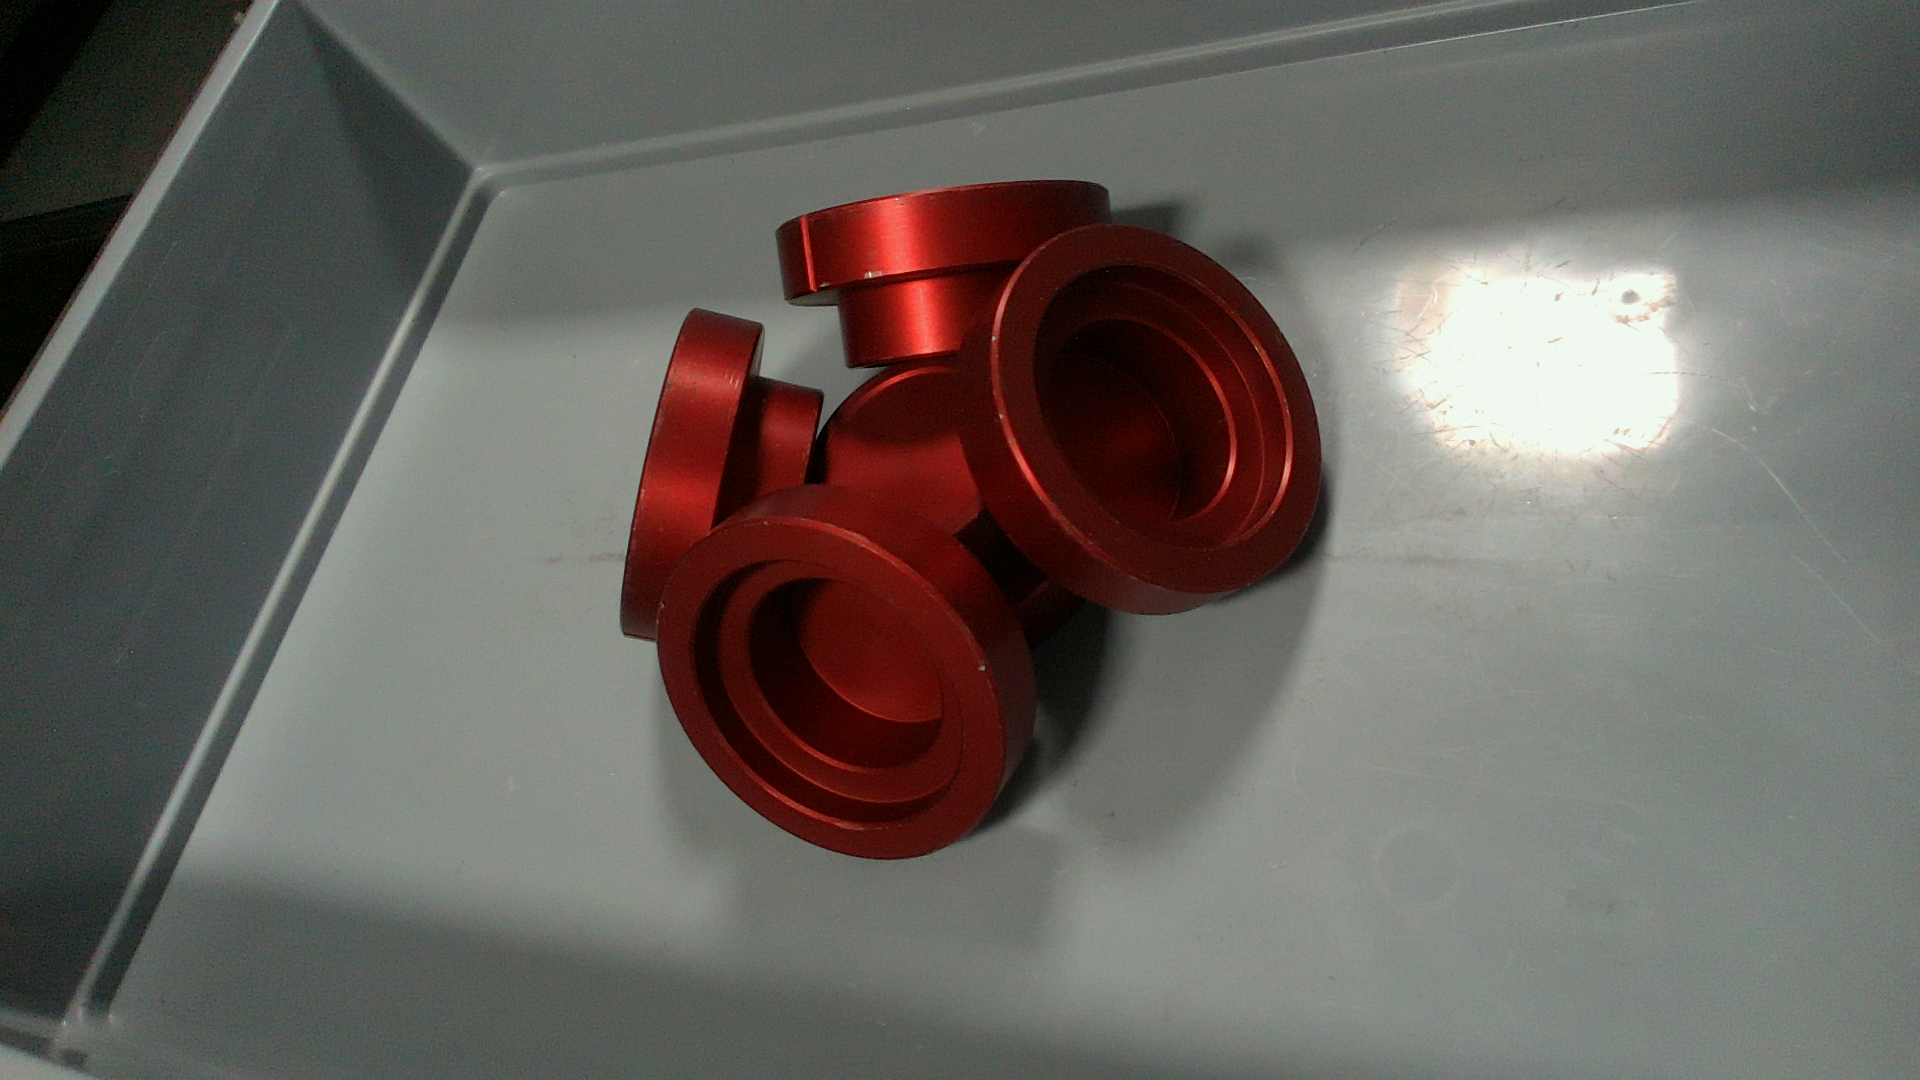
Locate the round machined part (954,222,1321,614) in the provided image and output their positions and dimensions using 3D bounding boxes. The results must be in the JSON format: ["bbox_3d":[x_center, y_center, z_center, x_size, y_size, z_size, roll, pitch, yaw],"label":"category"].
[{"bbox_3d":[0.041,-0.028,0.353,0.042,0.098,0.098,-34,39,55],"label":"round machined part"}]

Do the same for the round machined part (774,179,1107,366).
[{"bbox_3d":[-0.003,-0.076,0.406,0.098,0.098,0.042,-4,98,27],"label":"round machined part"}]

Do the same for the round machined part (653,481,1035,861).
[{"bbox_3d":[-0.026,0.030,0.352,0.098,0.098,0.042,-2,25,28],"label":"round machined part"}]

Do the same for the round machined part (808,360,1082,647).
[{"bbox_3d":[-0.006,-0.014,0.393,0.098,0.042,0.098,-13,56,21],"label":"round machined part"}]

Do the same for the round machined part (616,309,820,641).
[{"bbox_3d":[-0.068,-0.016,0.404,0.042,0.098,0.098,12,62,-7],"label":"round machined part"}]
